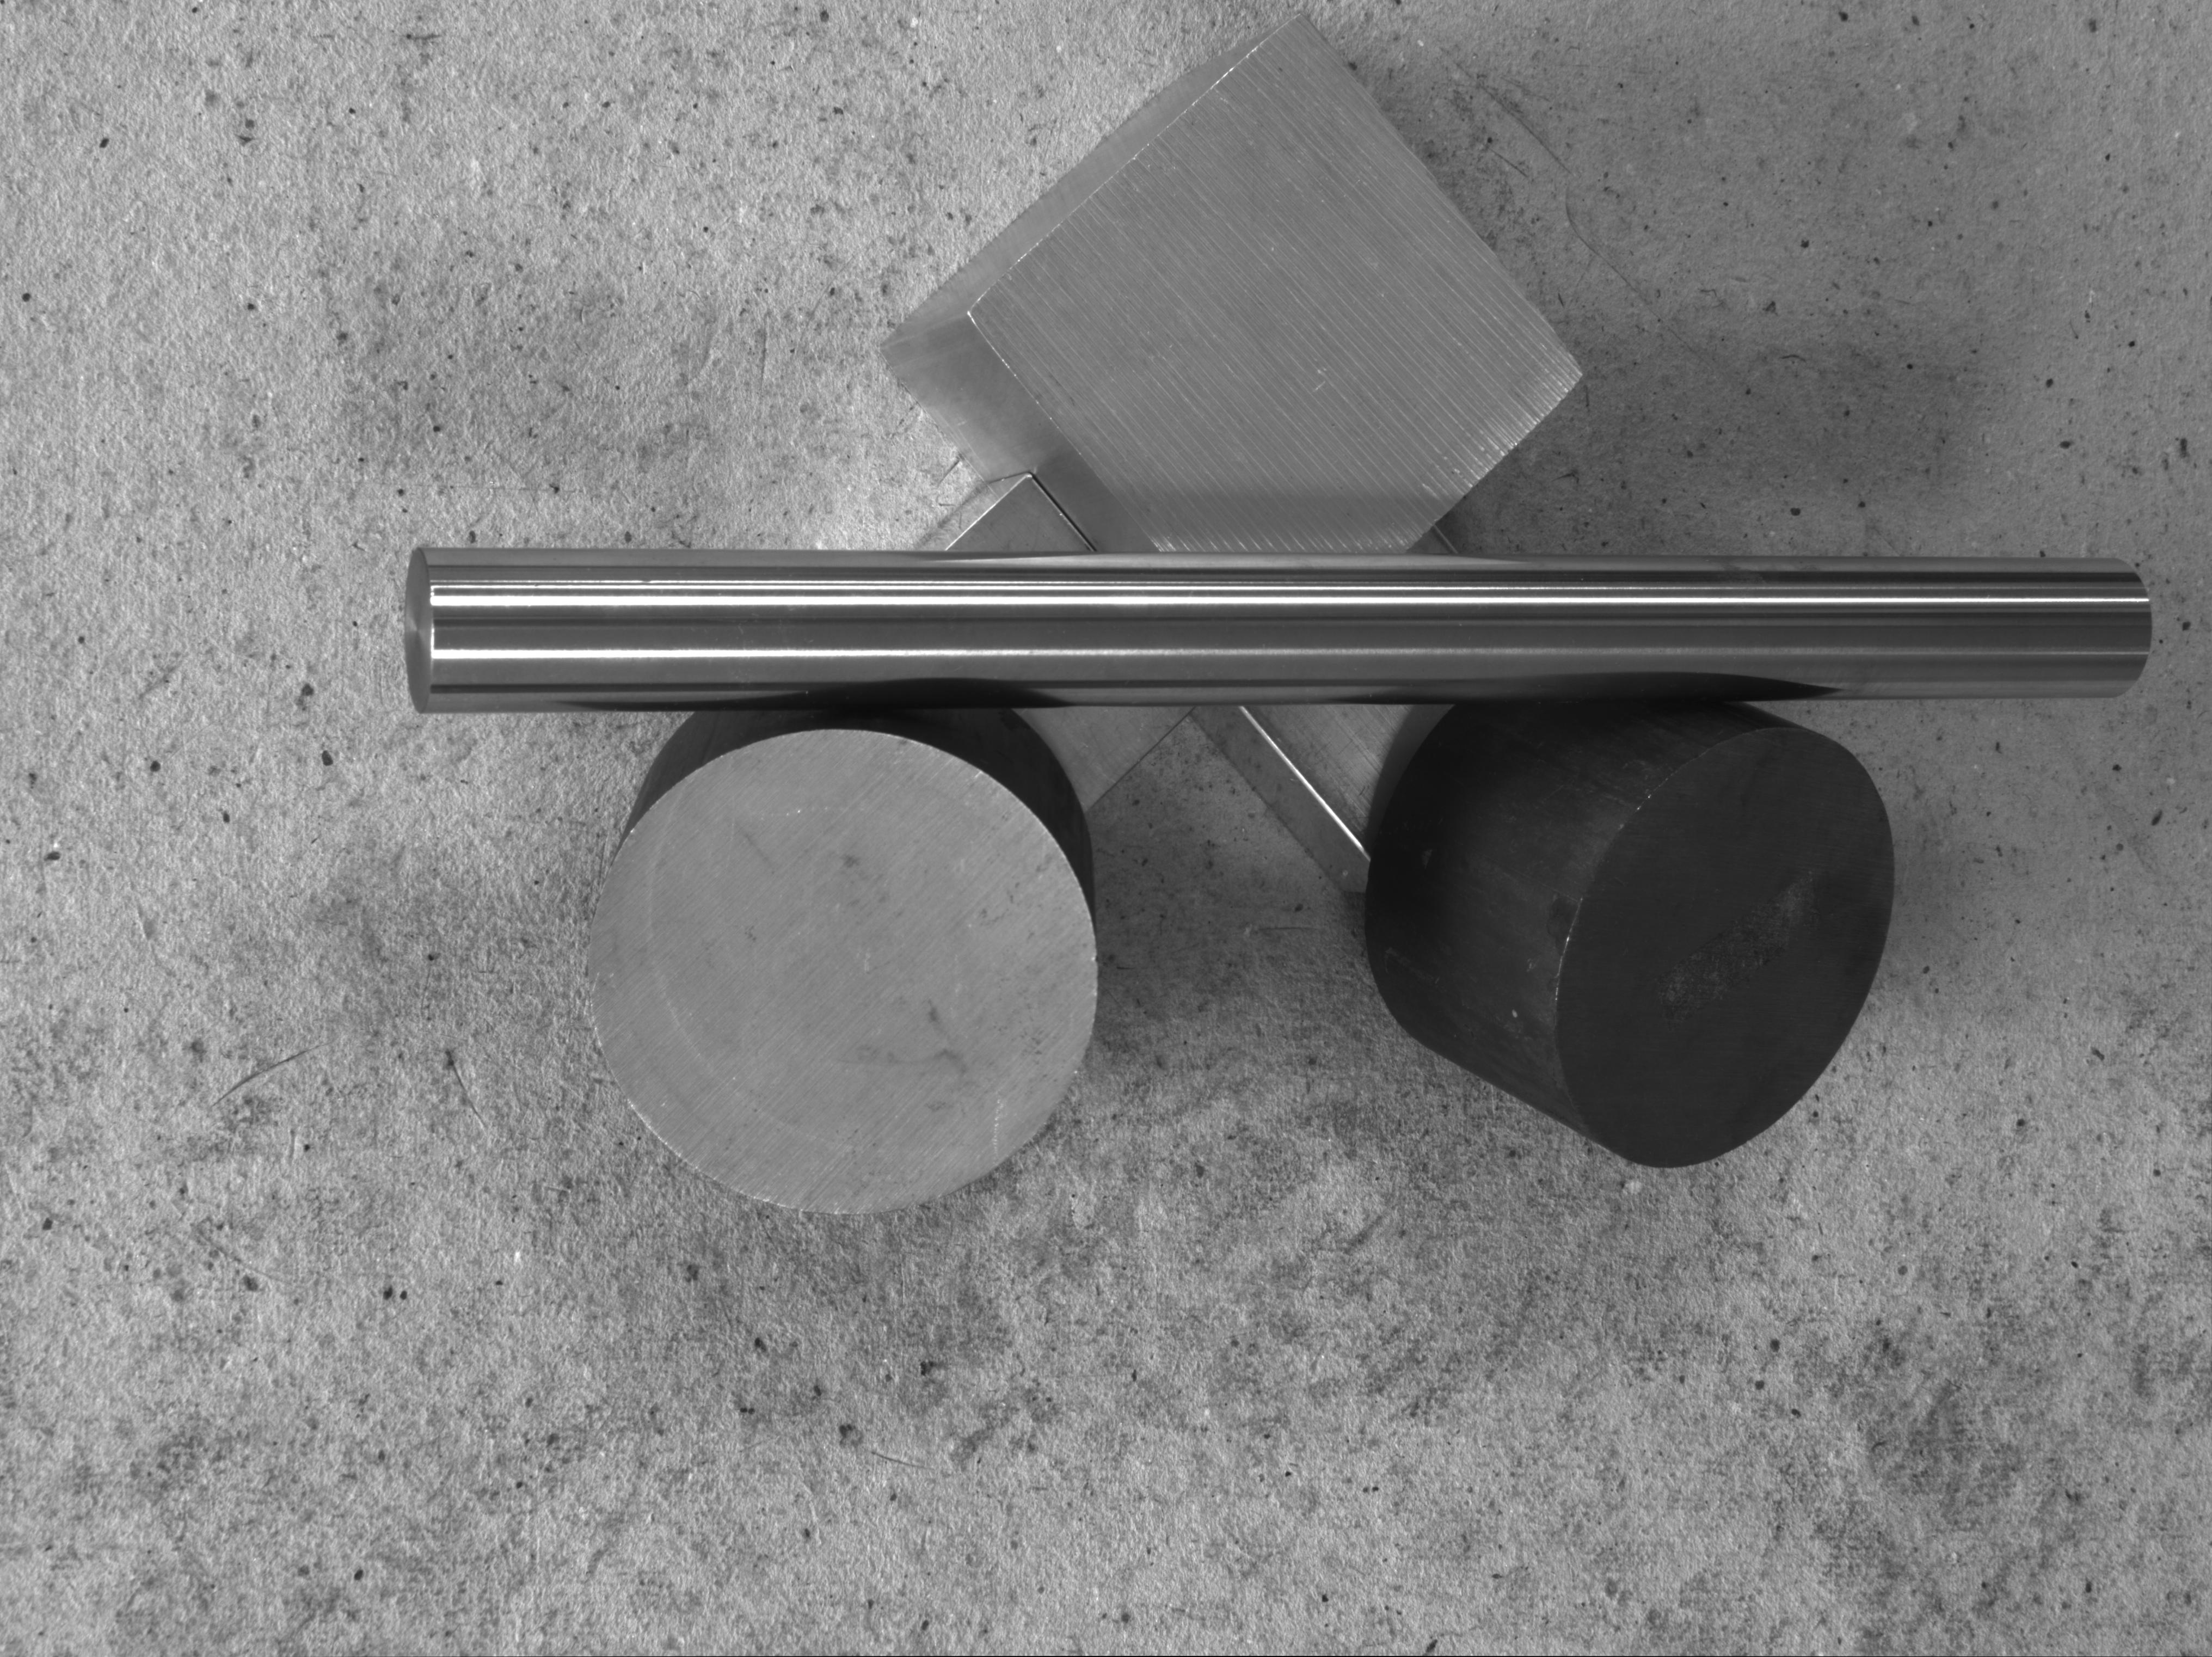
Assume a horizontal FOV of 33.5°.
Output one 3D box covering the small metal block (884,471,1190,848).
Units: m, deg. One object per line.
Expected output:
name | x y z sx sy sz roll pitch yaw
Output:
small metal block | -0.019 -0.026 0.637 0.050 0.025 0.050 -45 104 -15

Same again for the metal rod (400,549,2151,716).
metal rod | 0.037 -0.033 0.602 0.301 0.025 0.025 -1 90 -20

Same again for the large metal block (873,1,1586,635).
large metal block | 0.021 -0.082 0.636 0.080 0.050 0.080 -44 104 -15

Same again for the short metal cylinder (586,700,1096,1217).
short metal cylinder | -0.042 0.017 0.600 0.080 0.050 0.080 0 106 -1

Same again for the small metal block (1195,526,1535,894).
small metal block | 0.049 -0.023 0.661 0.050 0.025 0.050 -45 104 -14

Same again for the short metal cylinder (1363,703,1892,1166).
short metal cylinder | 0.092 0.013 0.649 0.080 0.050 0.080 -15 117 -33
